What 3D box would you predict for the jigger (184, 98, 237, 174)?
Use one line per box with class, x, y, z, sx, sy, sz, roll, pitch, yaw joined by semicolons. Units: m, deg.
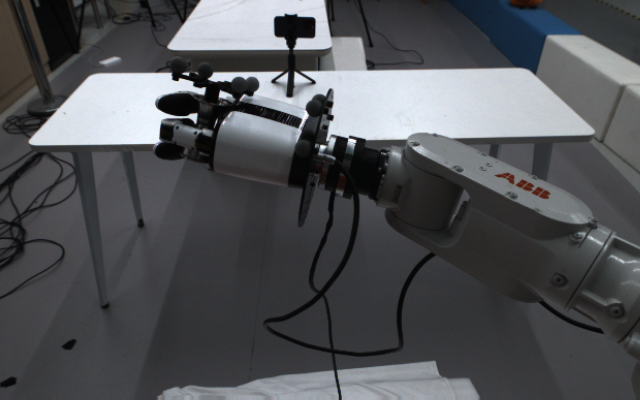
jigger;-0.127;-0.081;0.551;0.043;0.071;0.043;15;17;-5
